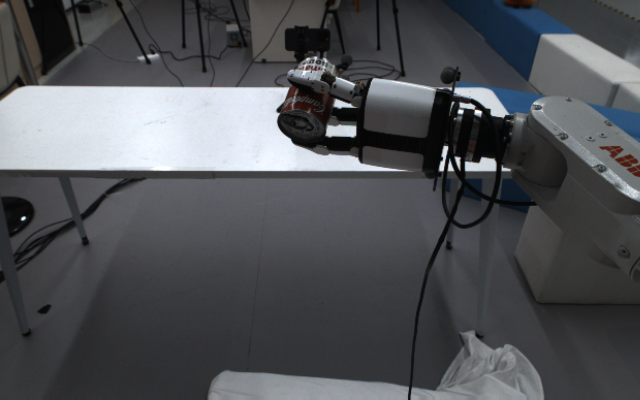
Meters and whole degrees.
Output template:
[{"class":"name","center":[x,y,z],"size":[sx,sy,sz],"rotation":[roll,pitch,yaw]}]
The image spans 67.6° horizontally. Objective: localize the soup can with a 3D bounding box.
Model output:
[{"class":"soup can","center":[-0.013,-0.140,0.668],"size":[0.067,0.067,0.101],"rotation":[9,60,10]}]
